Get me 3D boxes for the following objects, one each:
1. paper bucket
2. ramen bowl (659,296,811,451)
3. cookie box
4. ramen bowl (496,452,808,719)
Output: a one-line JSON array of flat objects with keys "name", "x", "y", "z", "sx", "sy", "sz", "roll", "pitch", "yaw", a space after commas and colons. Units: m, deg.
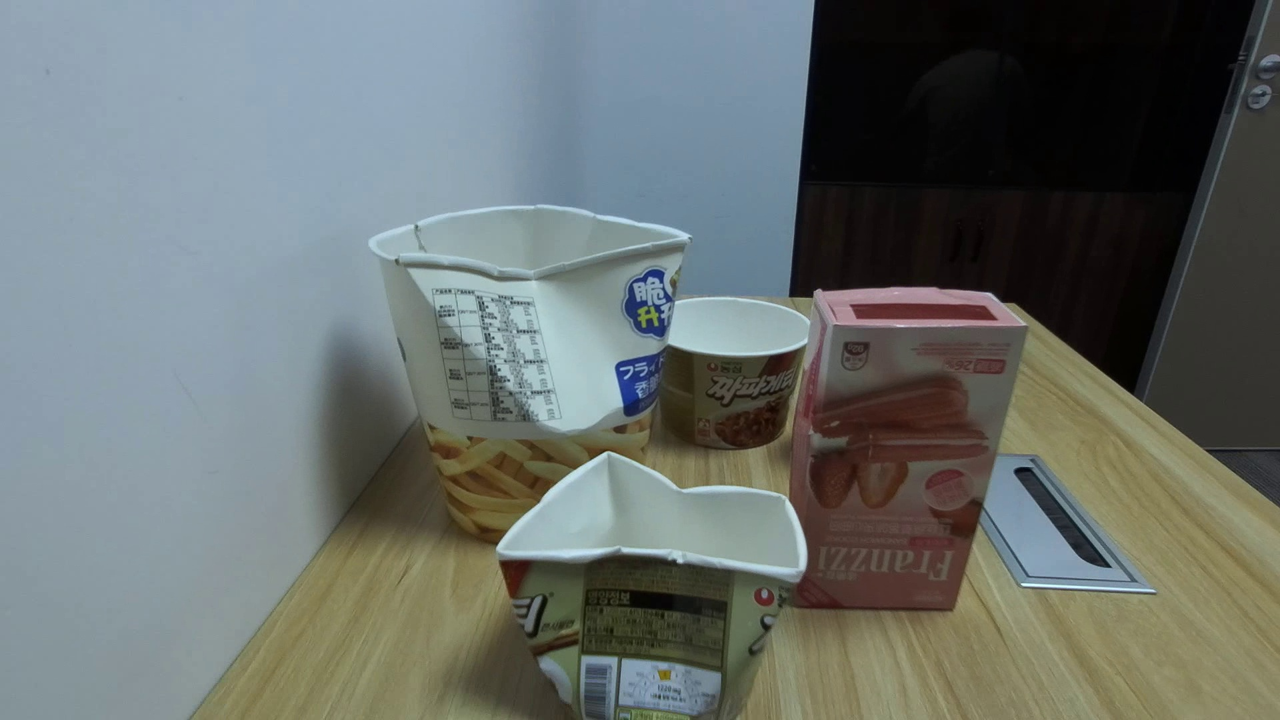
[{"name": "paper bucket", "x": -0.077, "y": 0.009, "z": 0.486, "sx": 0.168, "sy": 0.202, "sz": 0.163, "roll": 18, "pitch": 31, "yaw": 40}, {"name": "ramen bowl", "x": 0.078, "y": 0.012, "z": 0.609, "sx": 0.140, "sy": 0.095, "sz": 0.140, "roll": 0, "pitch": 23, "yaw": 0}, {"name": "cookie box", "x": 0.136, "y": 0.054, "z": 0.394, "sx": 0.105, "sy": 0.187, "sz": 0.049, "roll": 1, "pitch": 25, "yaw": 0}, {"name": "ramen bowl", "x": 0.013, "y": 0.119, "z": 0.355, "sx": 0.128, "sy": 0.093, "sz": 0.112, "roll": 11, "pitch": 25, "yaw": 22}]
